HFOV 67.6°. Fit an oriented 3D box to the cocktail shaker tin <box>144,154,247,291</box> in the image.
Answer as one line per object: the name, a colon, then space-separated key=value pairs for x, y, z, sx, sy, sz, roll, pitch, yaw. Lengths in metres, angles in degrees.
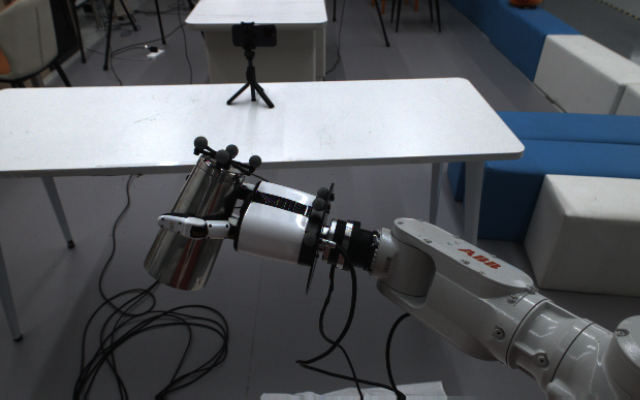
cocktail shaker tin: x=-0.165 y=0.026 z=0.664 sx=0.093 sy=0.170 sz=0.093 roll=24 pitch=12 yaw=-6
